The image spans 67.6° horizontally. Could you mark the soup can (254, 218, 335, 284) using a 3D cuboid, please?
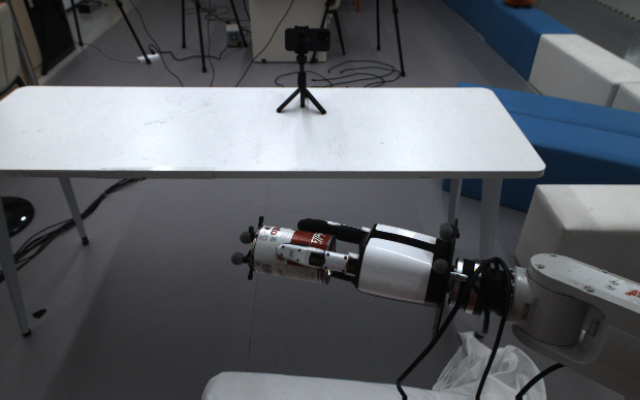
[{"bbox_3d":[-0.032,0.073,0.656,0.101,0.067,0.067,7,35,11],"label":"soup can"}]
